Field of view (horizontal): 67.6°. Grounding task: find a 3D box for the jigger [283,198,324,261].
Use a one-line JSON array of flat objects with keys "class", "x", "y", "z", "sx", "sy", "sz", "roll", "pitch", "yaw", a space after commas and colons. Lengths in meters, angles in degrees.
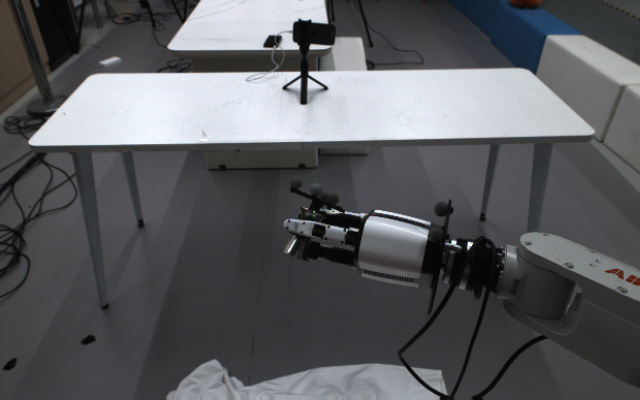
[{"class": "jigger", "x": -0.024, "y": 0.045, "z": 0.680, "sx": 0.043, "sy": 0.071, "sz": 0.043, "roll": 24, "pitch": -3, "yaw": 1}]
